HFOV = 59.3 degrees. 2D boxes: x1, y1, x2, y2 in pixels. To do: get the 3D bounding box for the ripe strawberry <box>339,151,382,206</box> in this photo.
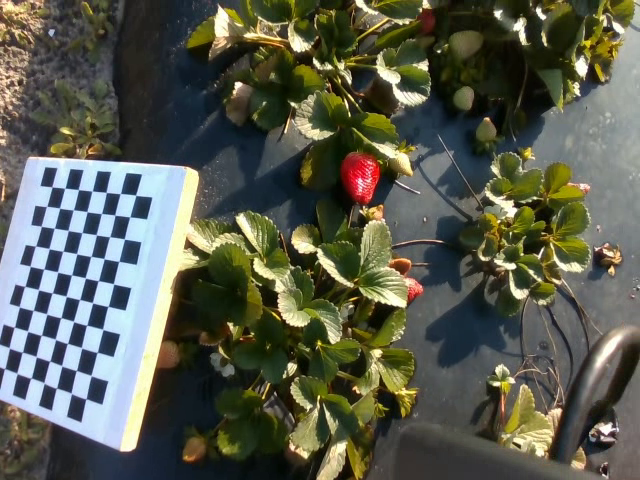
[{"bbox_3d":[0.045,-0.067,0.628,0.056,0.072,0.055,-19,-28,28],"label":"ripe strawberry"}]
